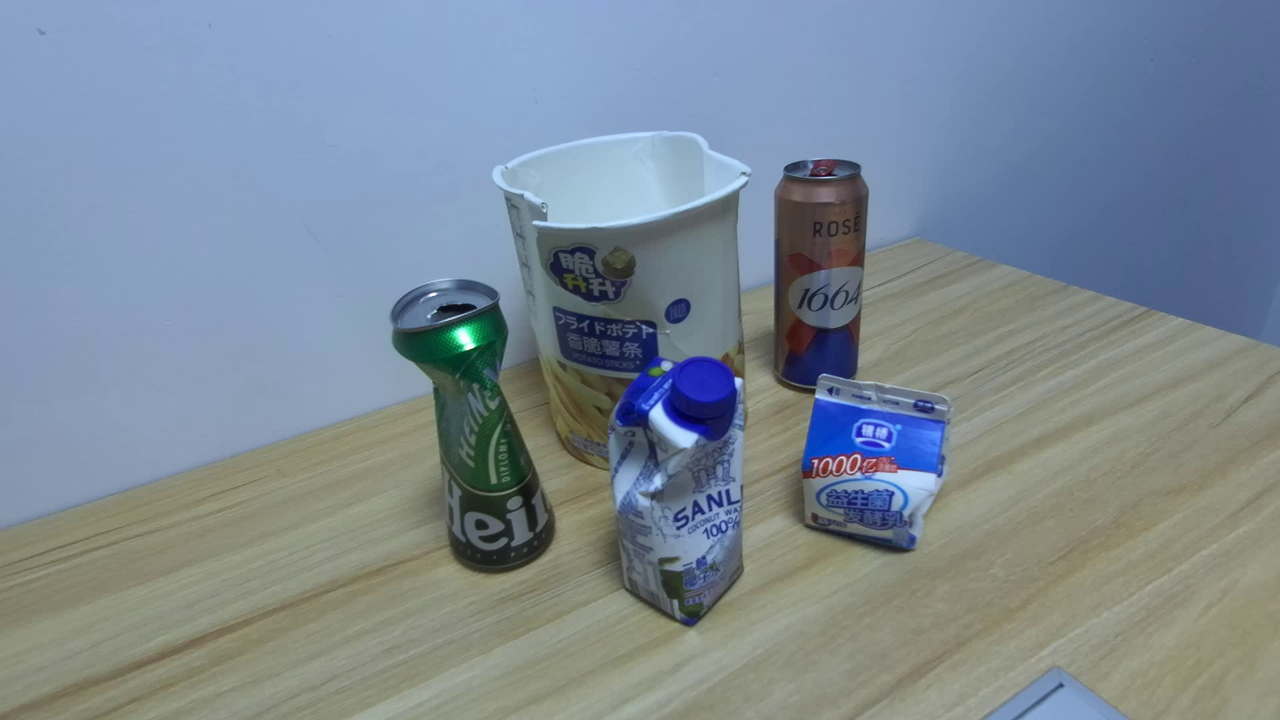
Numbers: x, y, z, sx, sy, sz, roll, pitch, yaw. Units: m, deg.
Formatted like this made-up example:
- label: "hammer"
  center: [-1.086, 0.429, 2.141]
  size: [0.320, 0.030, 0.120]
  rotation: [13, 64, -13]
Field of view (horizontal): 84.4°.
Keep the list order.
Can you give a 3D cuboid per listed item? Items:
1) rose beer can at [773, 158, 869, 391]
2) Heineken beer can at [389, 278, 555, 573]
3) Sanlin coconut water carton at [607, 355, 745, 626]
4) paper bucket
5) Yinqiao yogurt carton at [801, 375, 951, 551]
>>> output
- label: "rose beer can"
  center: [0.136, -0.061, 0.538]
  size: [0.068, 0.169, 0.068]
  rotation: [-5, 26, 3]
- label: "Heineken beer can"
  center: [-0.091, 0.039, 0.401]
  size: [0.066, 0.164, 0.077]
  rotation: [-3, 30, 8]
- label: "Sanlin coconut water carton"
  center: [0.018, 0.062, 0.357]
  size: [0.069, 0.144, 0.061]
  rotation: [20, 38, 38]
- label: "paper bucket"
  center: [0.000, -0.042, 0.492]
  size: [0.146, 0.197, 0.202]
  rotation: [-15, 30, -13]
- label: "Yinqiao yogurt carton"
  center: [0.136, 0.051, 0.404]
  size: [0.074, 0.097, 0.080]
  rotation: [8, 38, 23]
